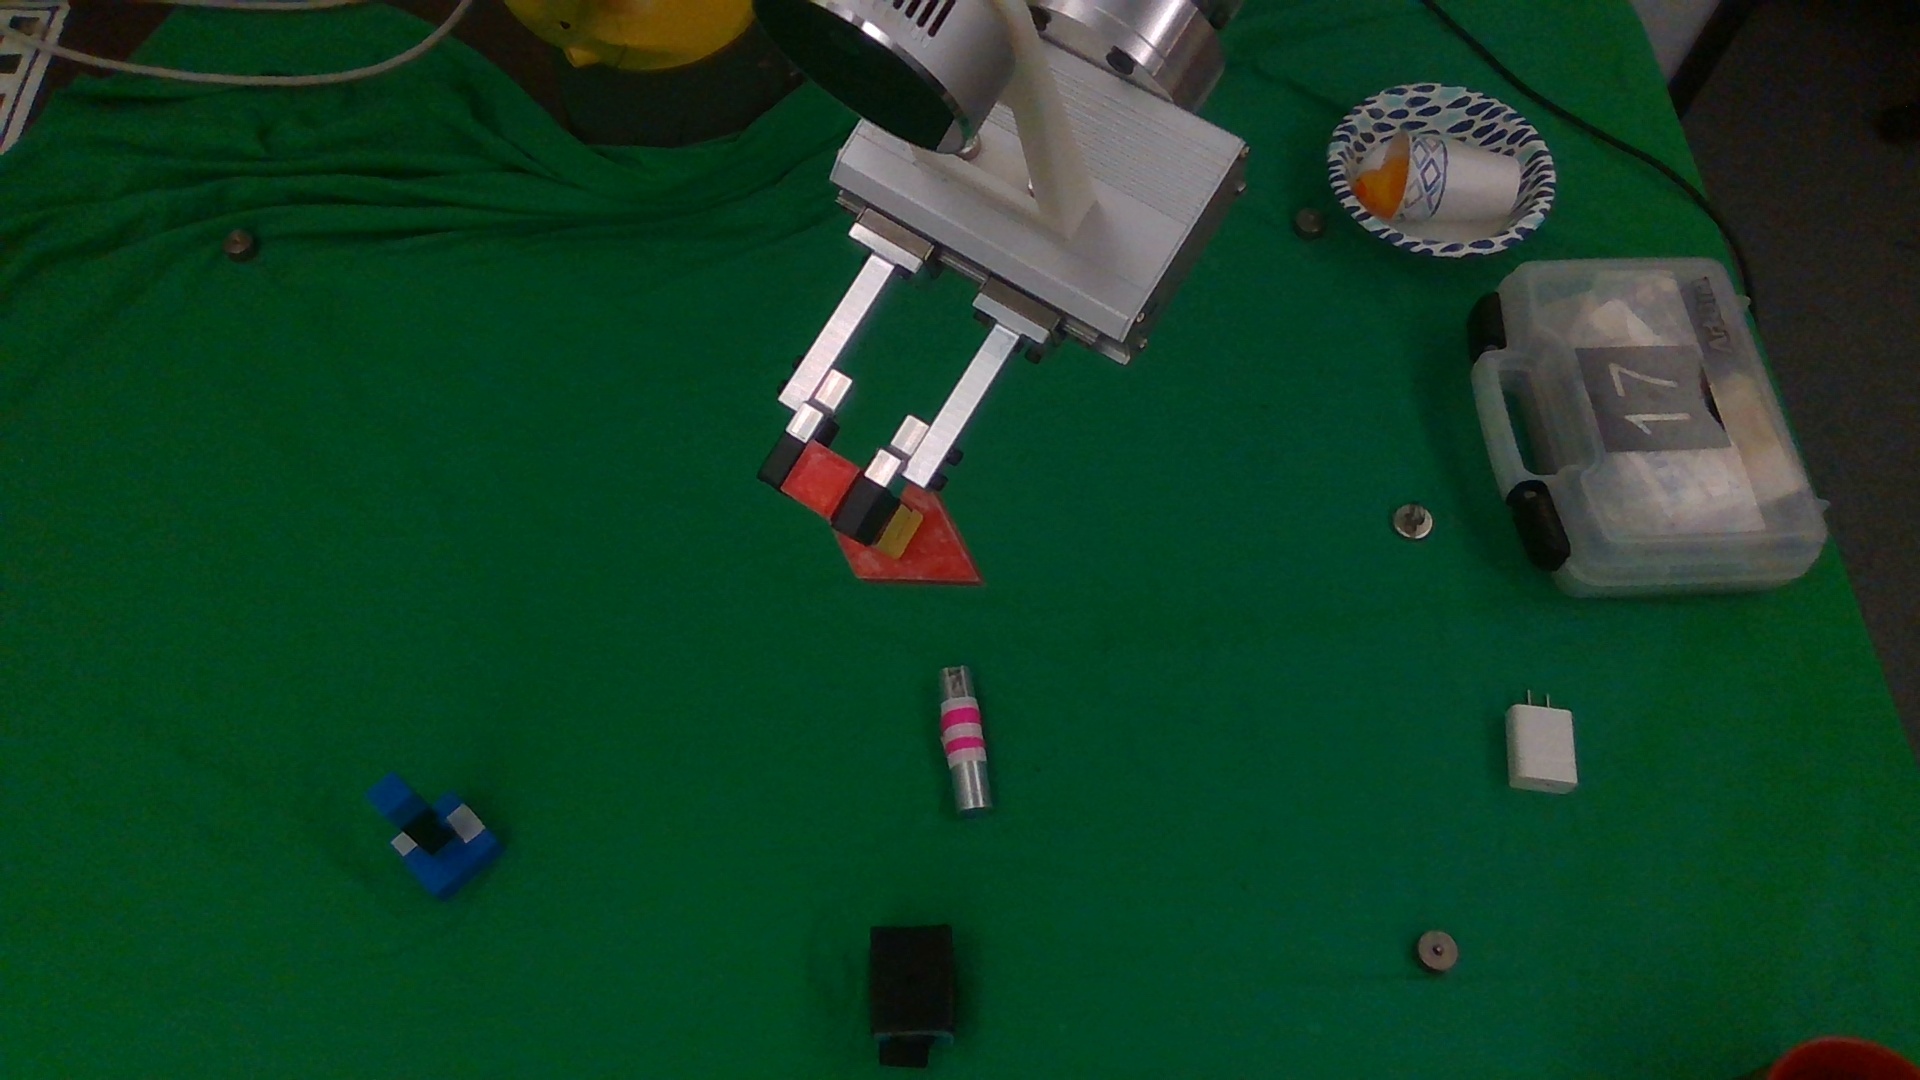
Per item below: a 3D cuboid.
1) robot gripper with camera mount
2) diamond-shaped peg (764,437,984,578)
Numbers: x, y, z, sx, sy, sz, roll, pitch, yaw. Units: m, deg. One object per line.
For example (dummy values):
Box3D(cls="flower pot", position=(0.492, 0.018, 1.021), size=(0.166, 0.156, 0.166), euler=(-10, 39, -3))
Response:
Box3D(cls="robot gripper with camera mount", position=(-0.016, -0.083, 0.395), size=(0.119, 0.193, 0.158), euler=(32, 91, 7))
Box3D(cls="diamond-shaped peg", position=(-0.038, -0.015, 0.512), size=(0.074, 0.121, 0.045), euler=(2, 84, 14))
